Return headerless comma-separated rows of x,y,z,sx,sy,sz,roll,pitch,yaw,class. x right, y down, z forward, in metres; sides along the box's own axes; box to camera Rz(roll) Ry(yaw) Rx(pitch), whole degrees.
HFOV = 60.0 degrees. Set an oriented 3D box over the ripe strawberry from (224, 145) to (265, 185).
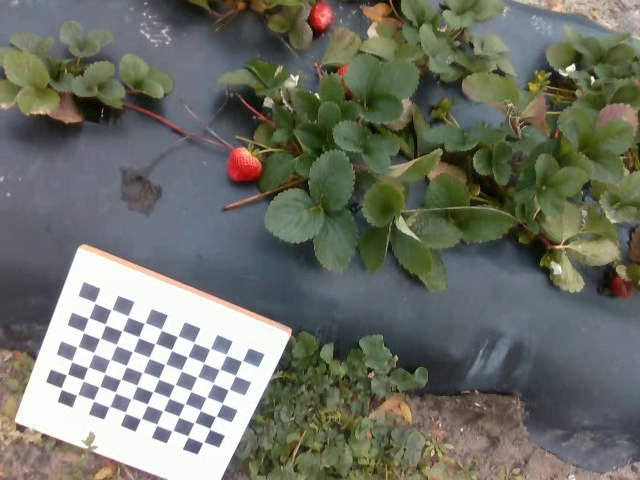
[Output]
-0.128,-0.123,0.894,0.061,0.065,0.050,34,6,-12,ripe strawberry
